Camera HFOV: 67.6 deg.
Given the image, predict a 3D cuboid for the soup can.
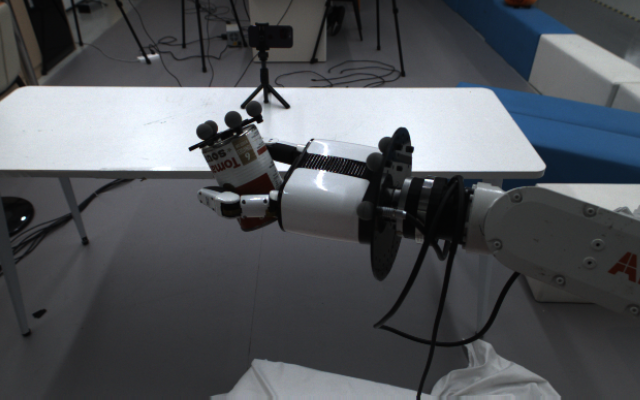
[{"bbox_3d":[-0.078,-0.025,0.546,0.067,0.101,0.067,-24,16,7],"label":"soup can"}]
